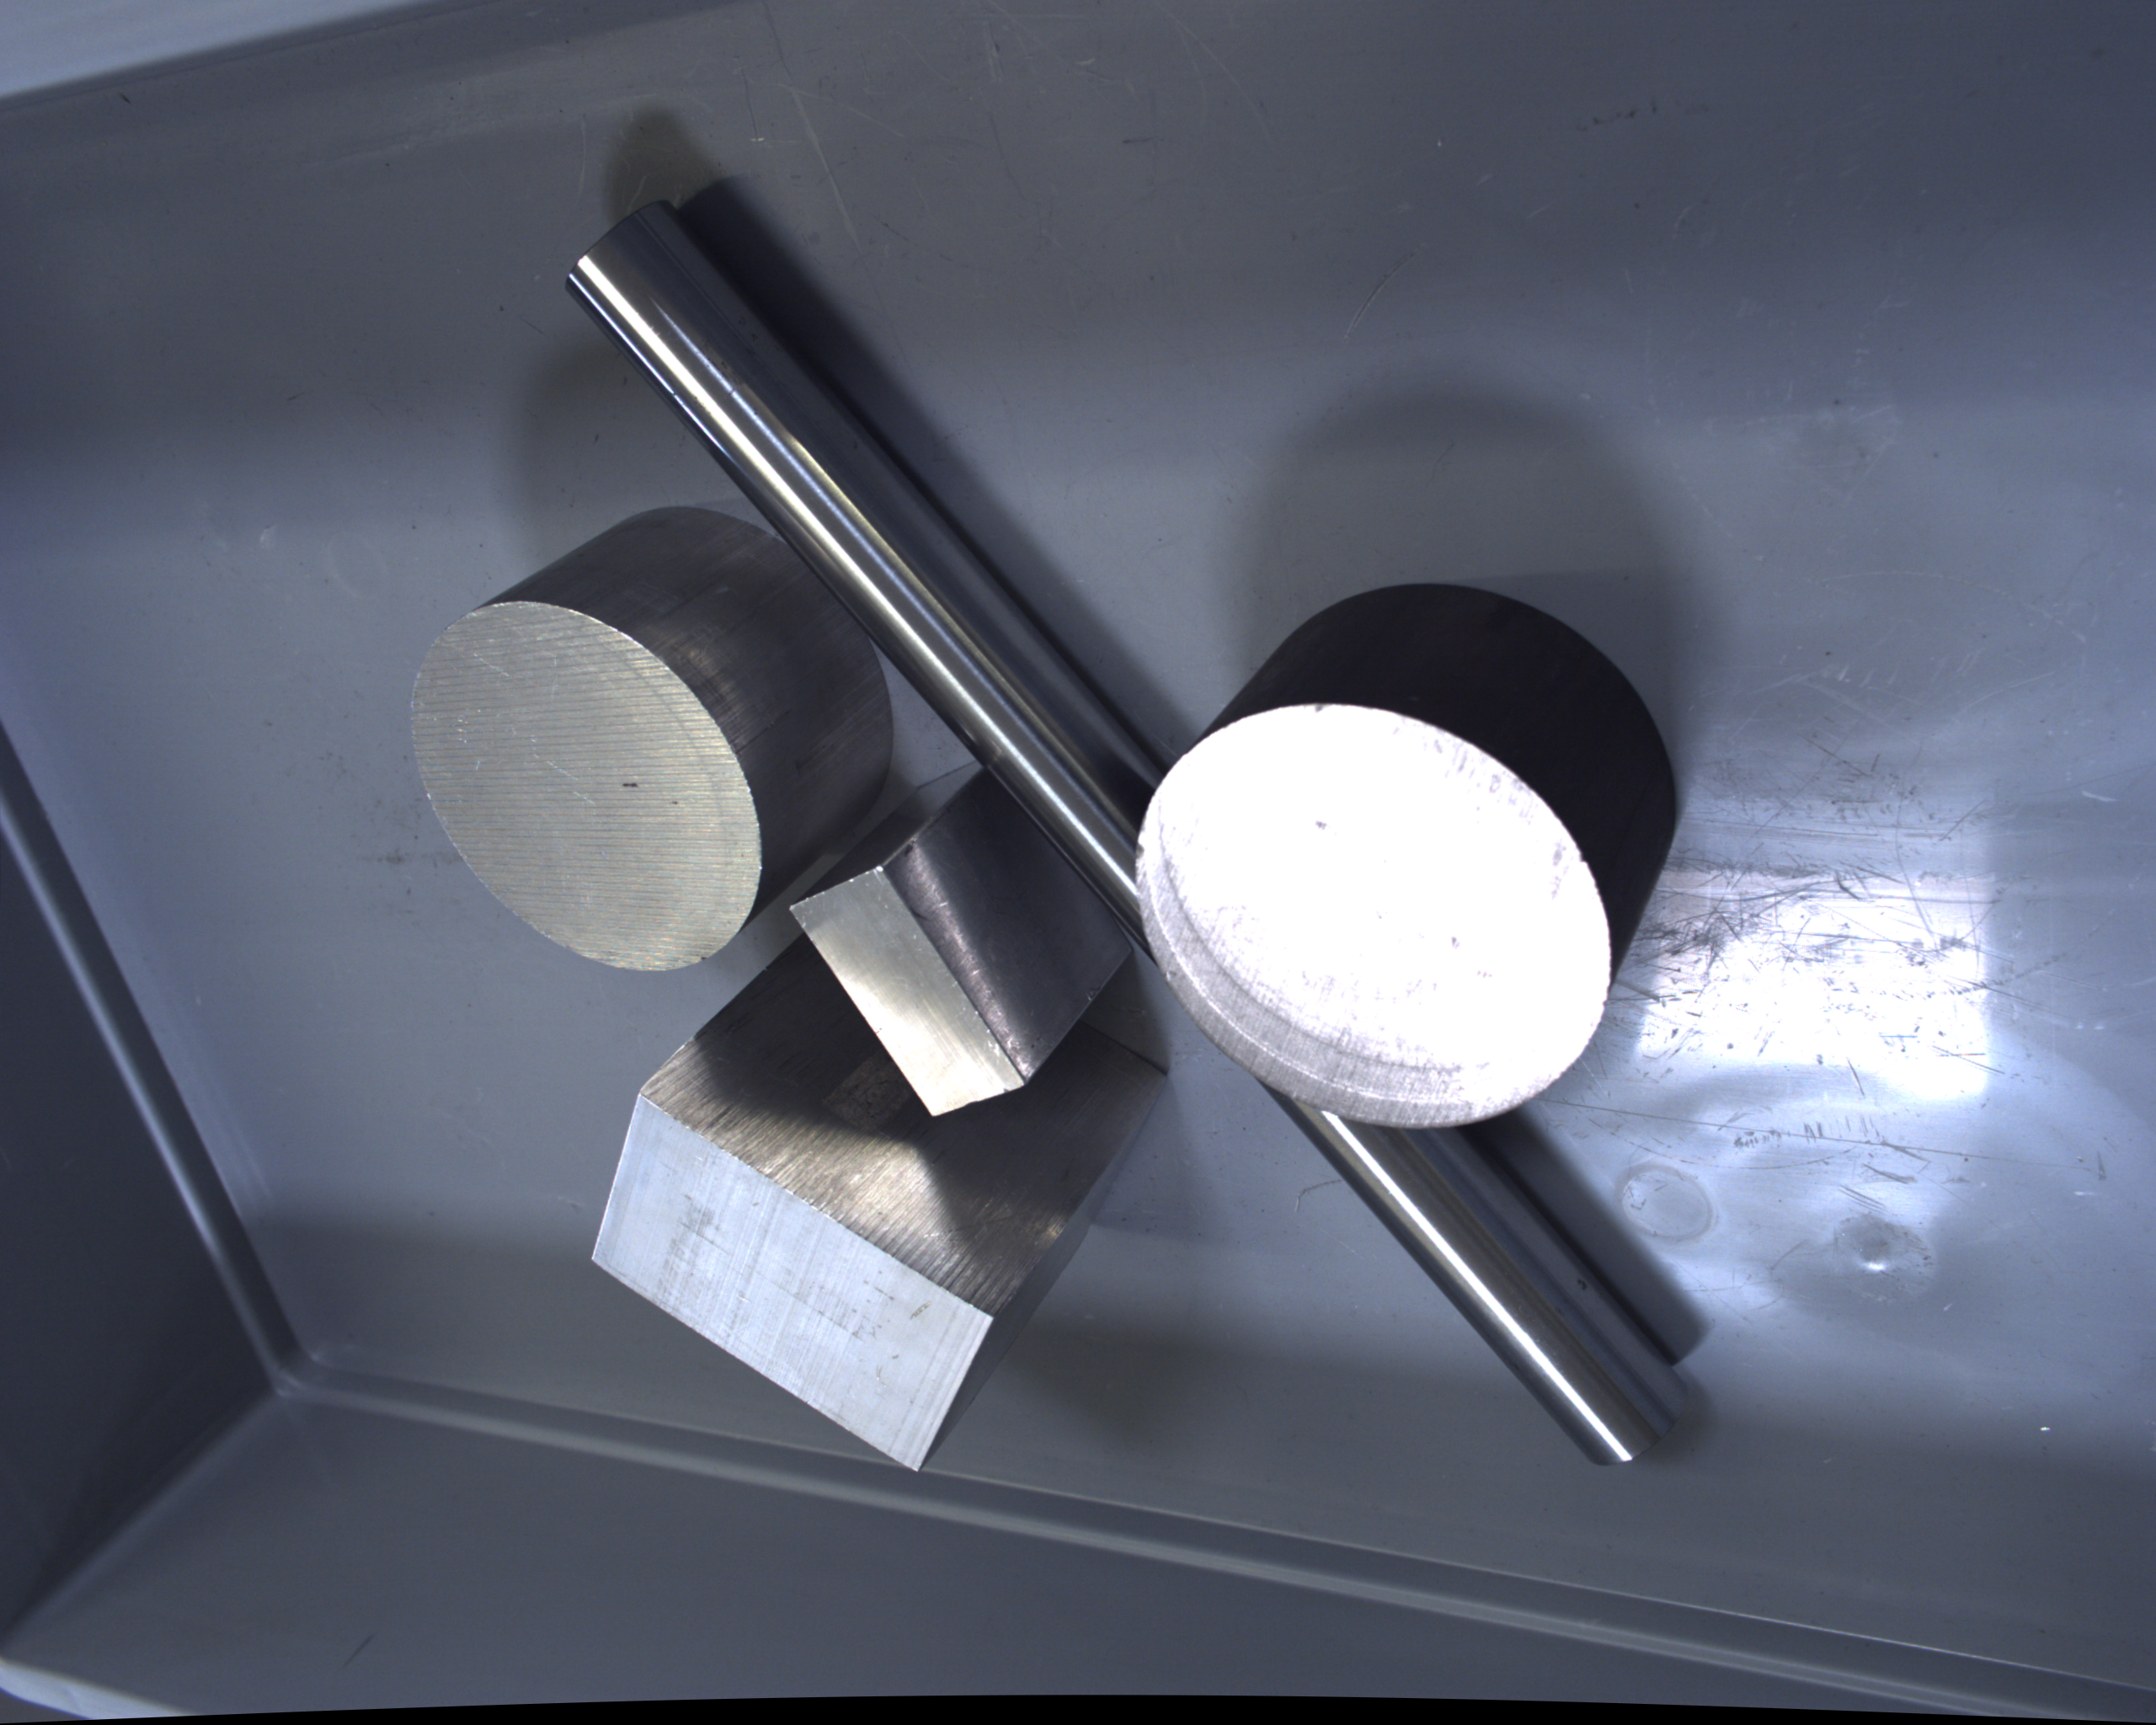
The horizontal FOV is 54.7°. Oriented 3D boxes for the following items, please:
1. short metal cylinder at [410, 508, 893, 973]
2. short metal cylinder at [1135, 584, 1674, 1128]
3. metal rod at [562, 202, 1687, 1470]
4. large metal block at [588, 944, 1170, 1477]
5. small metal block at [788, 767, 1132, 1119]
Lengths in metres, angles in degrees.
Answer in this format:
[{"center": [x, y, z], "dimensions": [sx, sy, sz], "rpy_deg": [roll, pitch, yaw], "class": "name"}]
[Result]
[{"center": [-0.085, -0.025, 0.419], "dimensions": [0.080, 0.050, 0.079], "rpy_deg": [13, 124, 21], "class": "short metal cylinder"}, {"center": [0.057, -0.001, 0.359], "dimensions": [0.080, 0.050, 0.079], "rpy_deg": [13, 124, 21], "class": "short metal cylinder"}, {"center": [0.013, 0.000, 0.399], "dimensions": [0.300, 0.025, 0.025], "rpy_deg": [49, 129, -7], "class": "metal rod"}, {"center": [-0.040, 0.063, 0.430], "dimensions": [0.080, 0.080, 0.050], "rpy_deg": [30, 129, 9], "class": "large metal block"}, {"center": [-0.021, 0.013, 0.409], "dimensions": [0.025, 0.050, 0.050], "rpy_deg": [-23, 106, 36], "class": "small metal block"}]
